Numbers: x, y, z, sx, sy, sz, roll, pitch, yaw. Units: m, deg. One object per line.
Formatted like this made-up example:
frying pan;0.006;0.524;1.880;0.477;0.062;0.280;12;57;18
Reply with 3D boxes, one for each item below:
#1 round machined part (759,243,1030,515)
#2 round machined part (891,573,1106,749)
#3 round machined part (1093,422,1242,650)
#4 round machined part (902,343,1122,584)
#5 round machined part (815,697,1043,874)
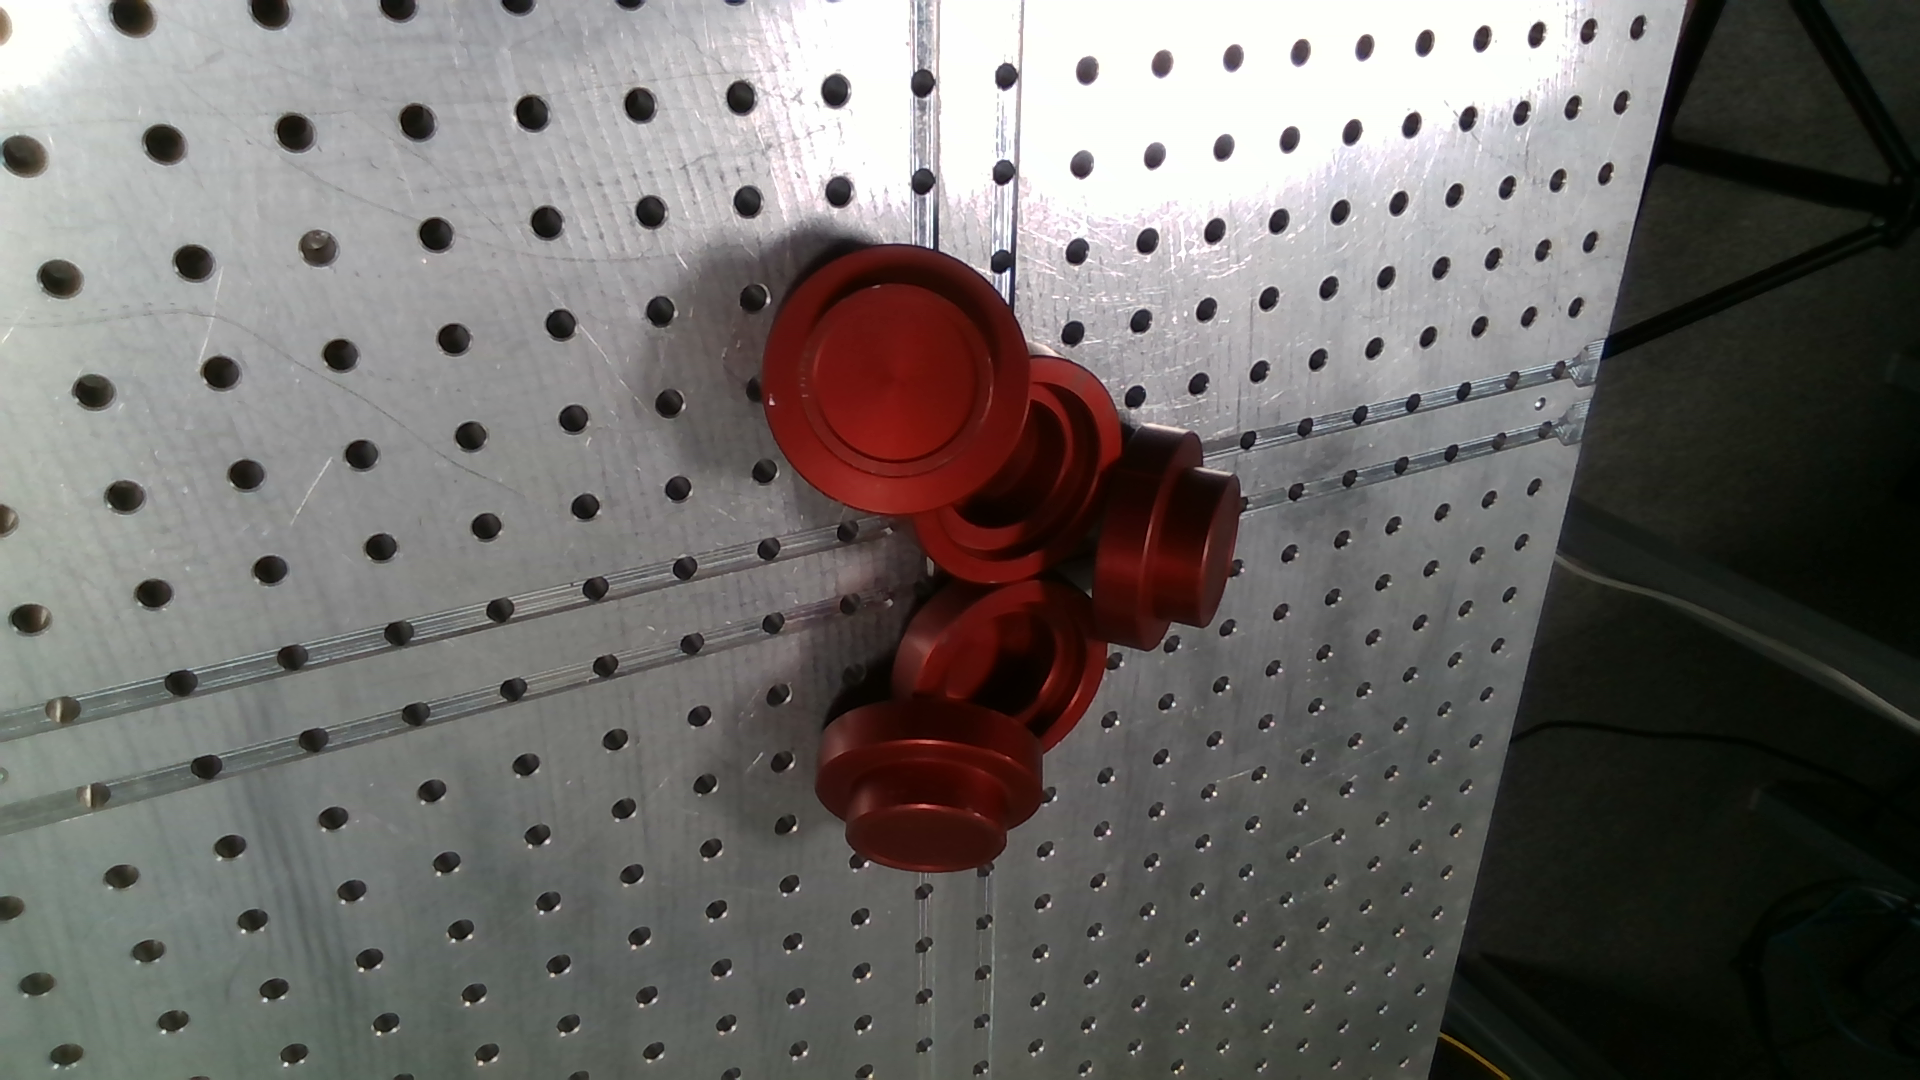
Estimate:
round machined part;-0.024;-0.058;0.497;0.098;0.042;0.098;0;96;-2
round machined part;0.013;0.052;0.608;0.098;0.042;0.098;-14;122;-25
round machined part;0.094;0.000;0.597;0.098;0.042;0.098;12;89;-69
round machined part;0.014;-0.035;0.561;0.098;0.042;0.098;-14;122;-25
round machined part;-0.013;0.110;0.589;0.098;0.042;0.098;1;143;1
